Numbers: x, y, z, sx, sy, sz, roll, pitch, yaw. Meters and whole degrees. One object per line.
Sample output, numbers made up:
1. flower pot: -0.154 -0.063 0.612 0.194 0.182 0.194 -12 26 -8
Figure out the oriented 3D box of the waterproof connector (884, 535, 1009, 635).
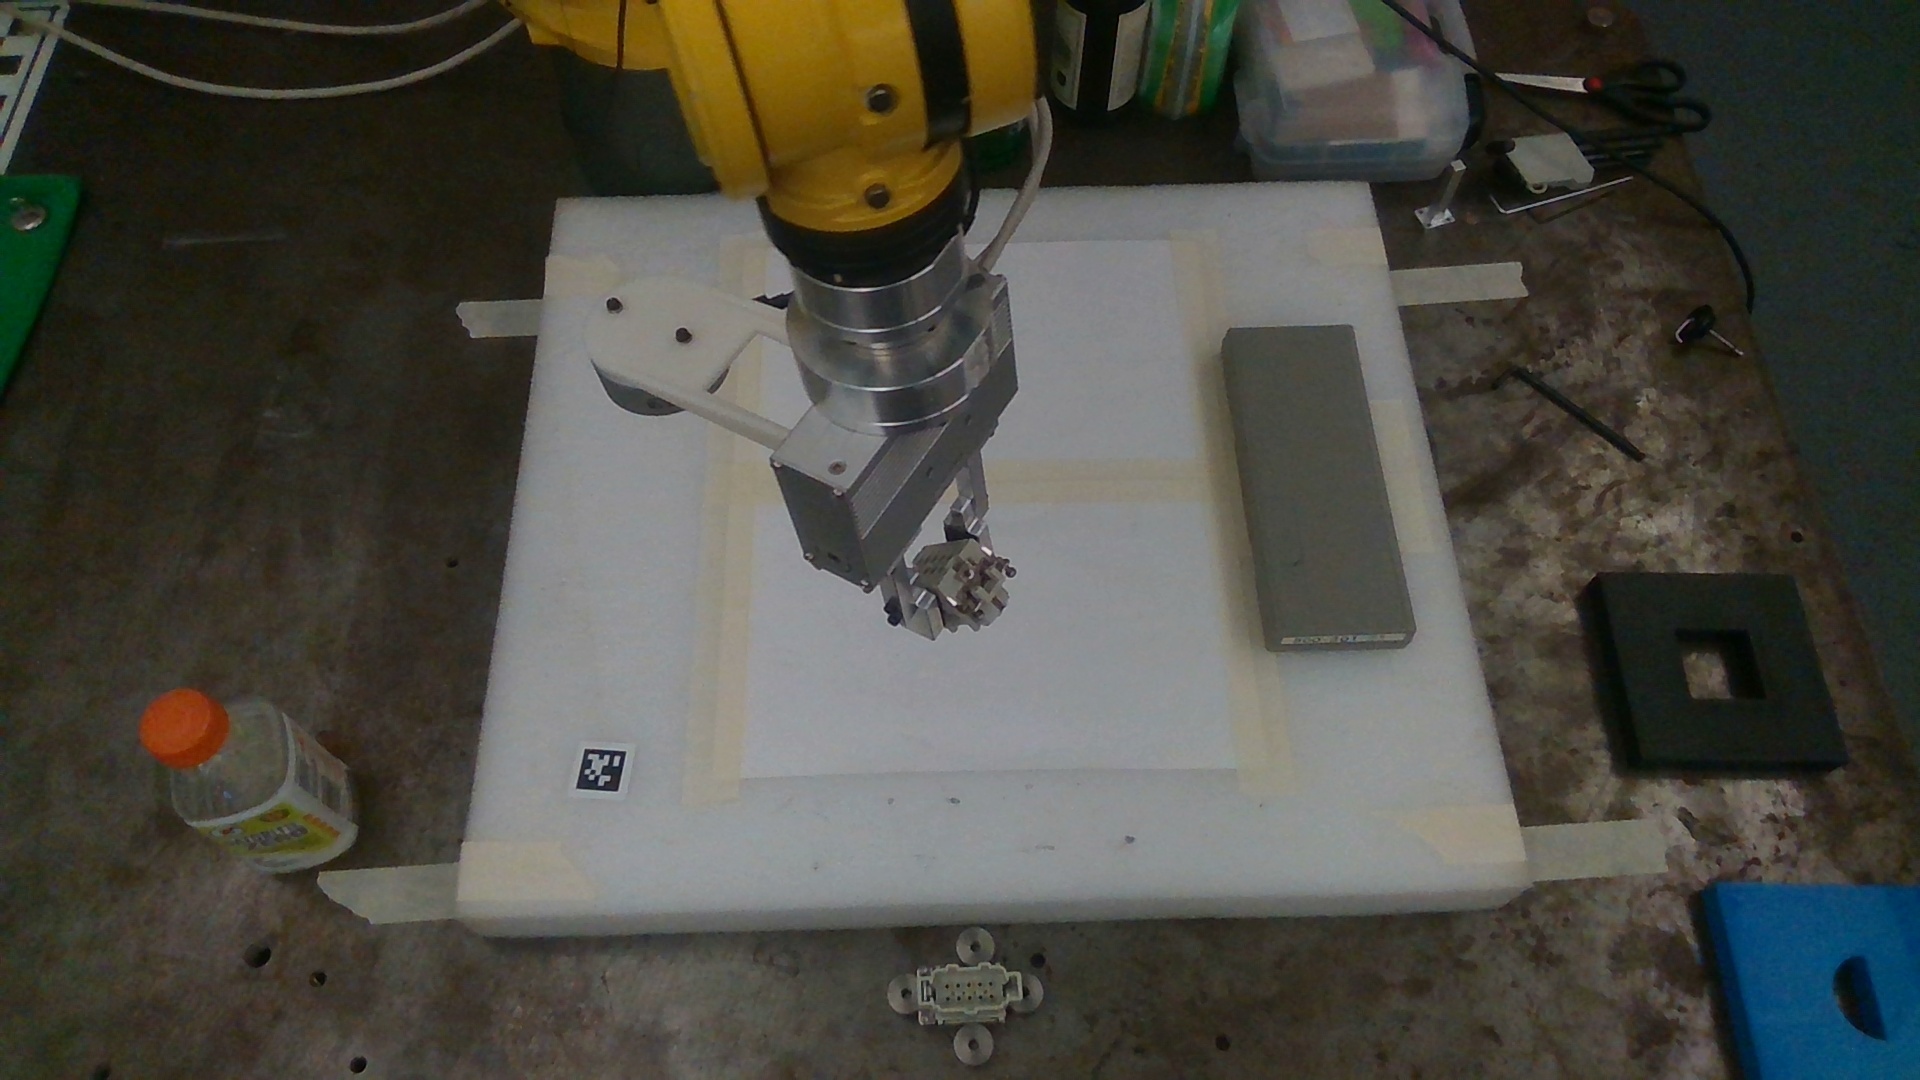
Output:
1. waterproof connector: -0.005 0.025 0.696 0.038 0.069 0.036 46 57 -23
